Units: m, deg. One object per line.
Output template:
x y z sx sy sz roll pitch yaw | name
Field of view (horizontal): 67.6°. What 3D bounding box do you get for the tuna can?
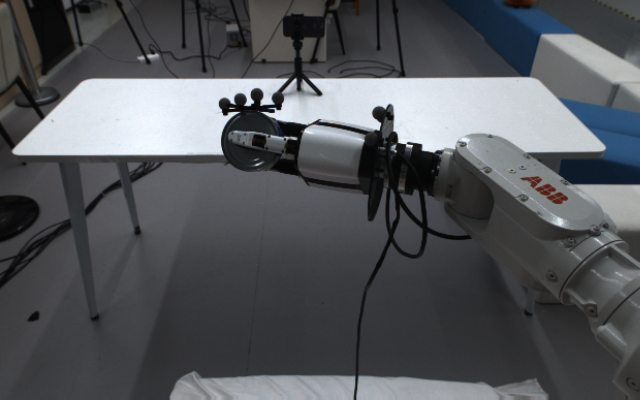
-0.091 -0.082 0.690 0.085 0.085 0.034 10 2 11 | tuna can
